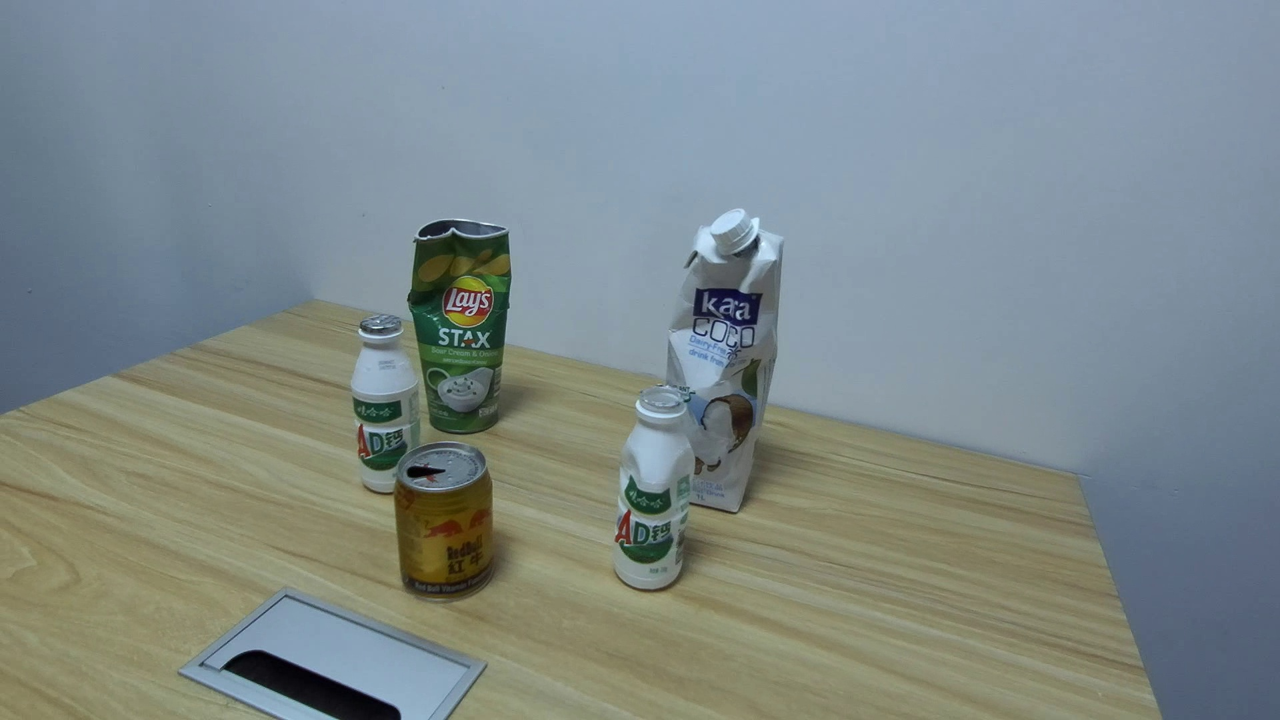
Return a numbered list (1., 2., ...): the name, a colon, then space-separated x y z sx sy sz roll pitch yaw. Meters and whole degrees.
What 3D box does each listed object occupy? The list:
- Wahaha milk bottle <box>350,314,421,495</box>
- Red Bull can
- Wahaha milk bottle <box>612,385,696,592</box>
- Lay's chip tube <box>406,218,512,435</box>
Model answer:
1. Wahaha milk bottle: -0.209 0.036 0.586 0.053 0.147 0.053 4 26 -1
2. Red Bull can: -0.137 0.113 0.497 0.067 0.093 0.067 4 23 -1
3. Wahaha milk bottle: 0.009 0.091 0.499 0.055 0.149 0.055 2 27 -1
4. Lay's chip tube: -0.172 -0.031 0.681 0.077 0.201 0.069 -19 33 -37
